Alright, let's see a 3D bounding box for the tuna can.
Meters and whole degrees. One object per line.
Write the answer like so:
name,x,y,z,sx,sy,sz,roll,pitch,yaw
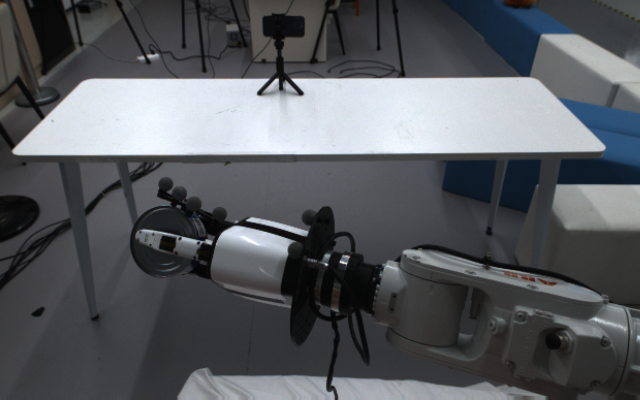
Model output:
tuna can,-0.180,0.051,0.586,0.085,0.085,0.034,10,-4,11
